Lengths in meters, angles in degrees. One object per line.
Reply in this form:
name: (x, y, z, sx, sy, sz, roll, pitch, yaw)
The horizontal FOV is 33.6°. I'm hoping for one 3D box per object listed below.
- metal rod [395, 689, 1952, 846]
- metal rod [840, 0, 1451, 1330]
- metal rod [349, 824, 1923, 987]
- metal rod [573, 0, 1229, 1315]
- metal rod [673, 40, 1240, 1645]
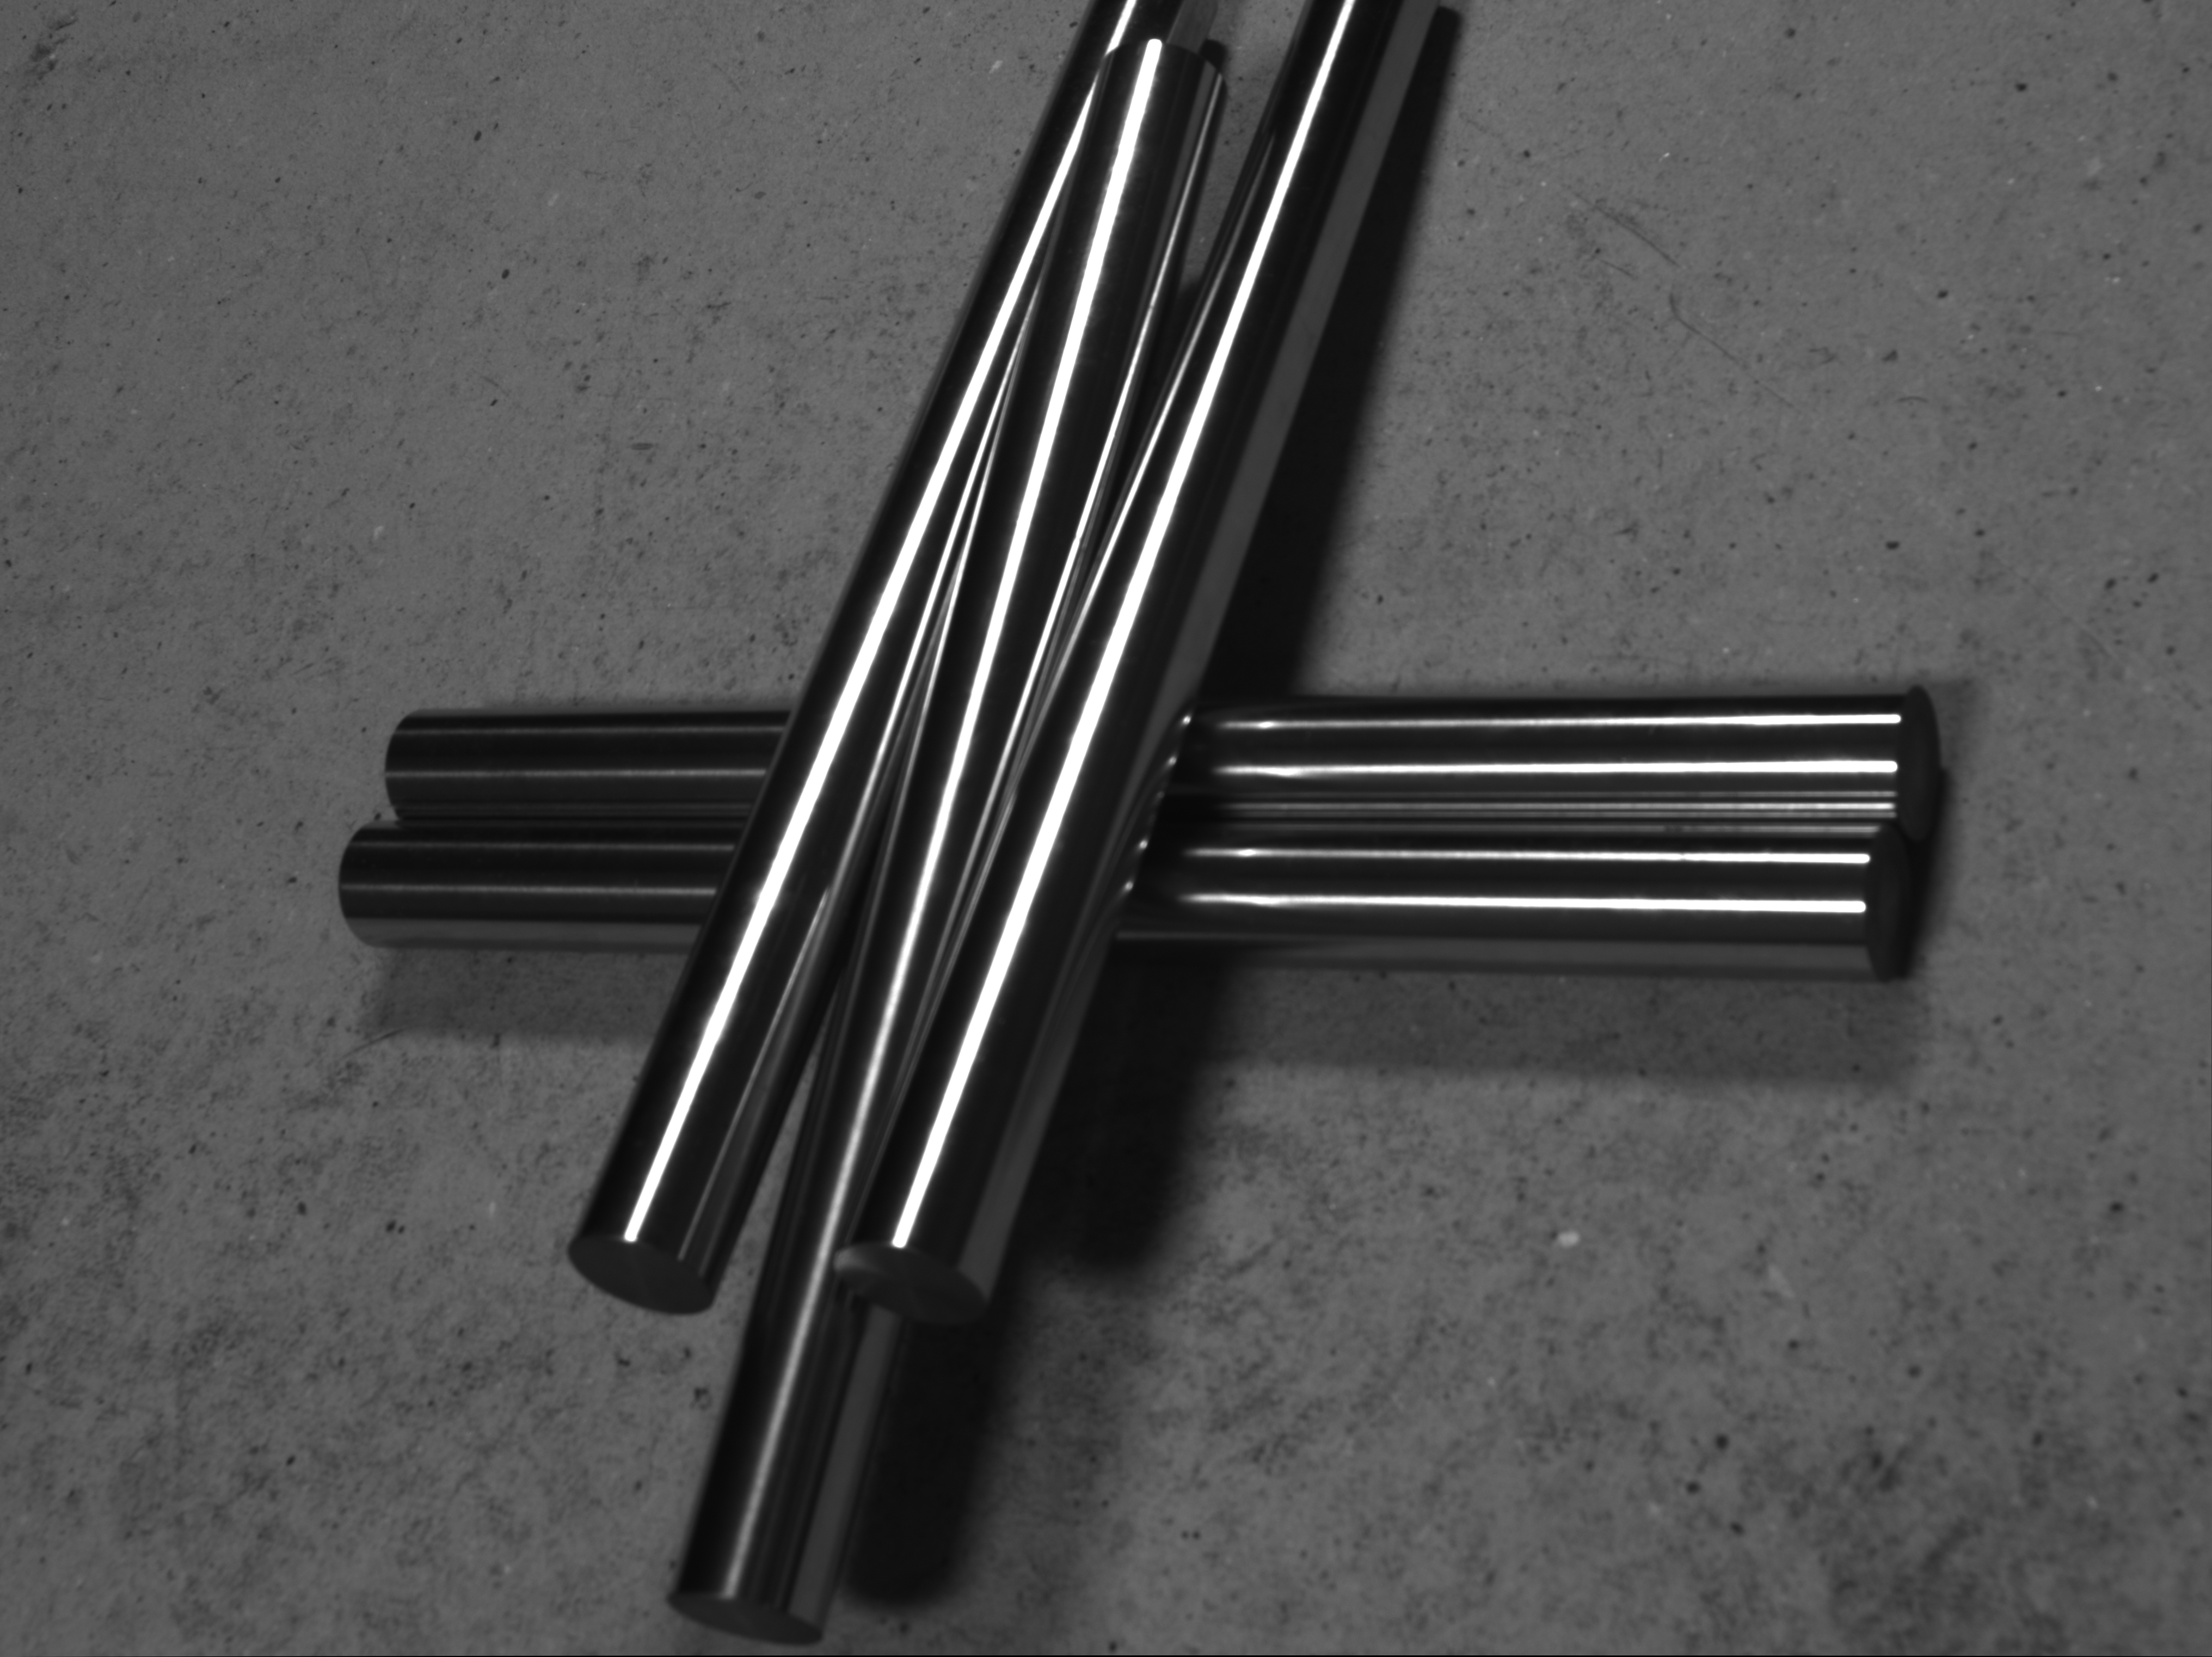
metal rod: (-0.001, -0.010, 0.652, 0.299, 0.025, 0.025, 0, 62, 28)
metal rod: (0.014, -0.050, 0.640, 0.025, 0.025, 0.300, 0, 53, 29)
metal rod: (-0.008, 0.012, 0.643, 0.299, 0.025, 0.025, 0, 62, 28)
metal rod: (-0.030, -0.049, 0.664, 0.025, 0.025, 0.300, 0, 53, 29)
metal rod: (-0.021, -0.010, 0.628, 0.025, 0.025, 0.300, 0, 61, 28)
